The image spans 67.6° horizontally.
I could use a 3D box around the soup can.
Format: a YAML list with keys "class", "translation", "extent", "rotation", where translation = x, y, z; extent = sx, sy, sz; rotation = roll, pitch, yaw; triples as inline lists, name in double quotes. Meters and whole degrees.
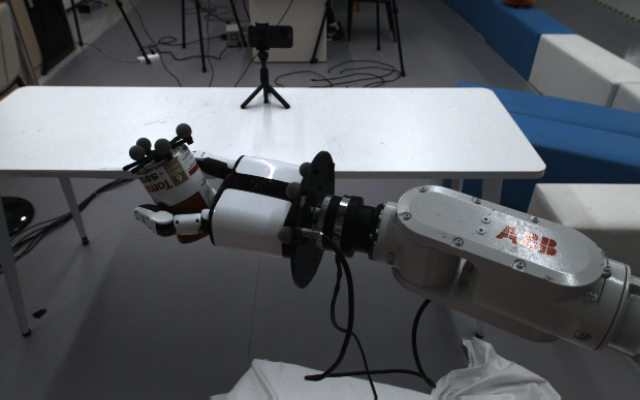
- class: "soup can"
  translation: [-0.163, -0.007, 0.582]
  extent: [0.067, 0.101, 0.067]
  rotation: [-22, 24, 10]
